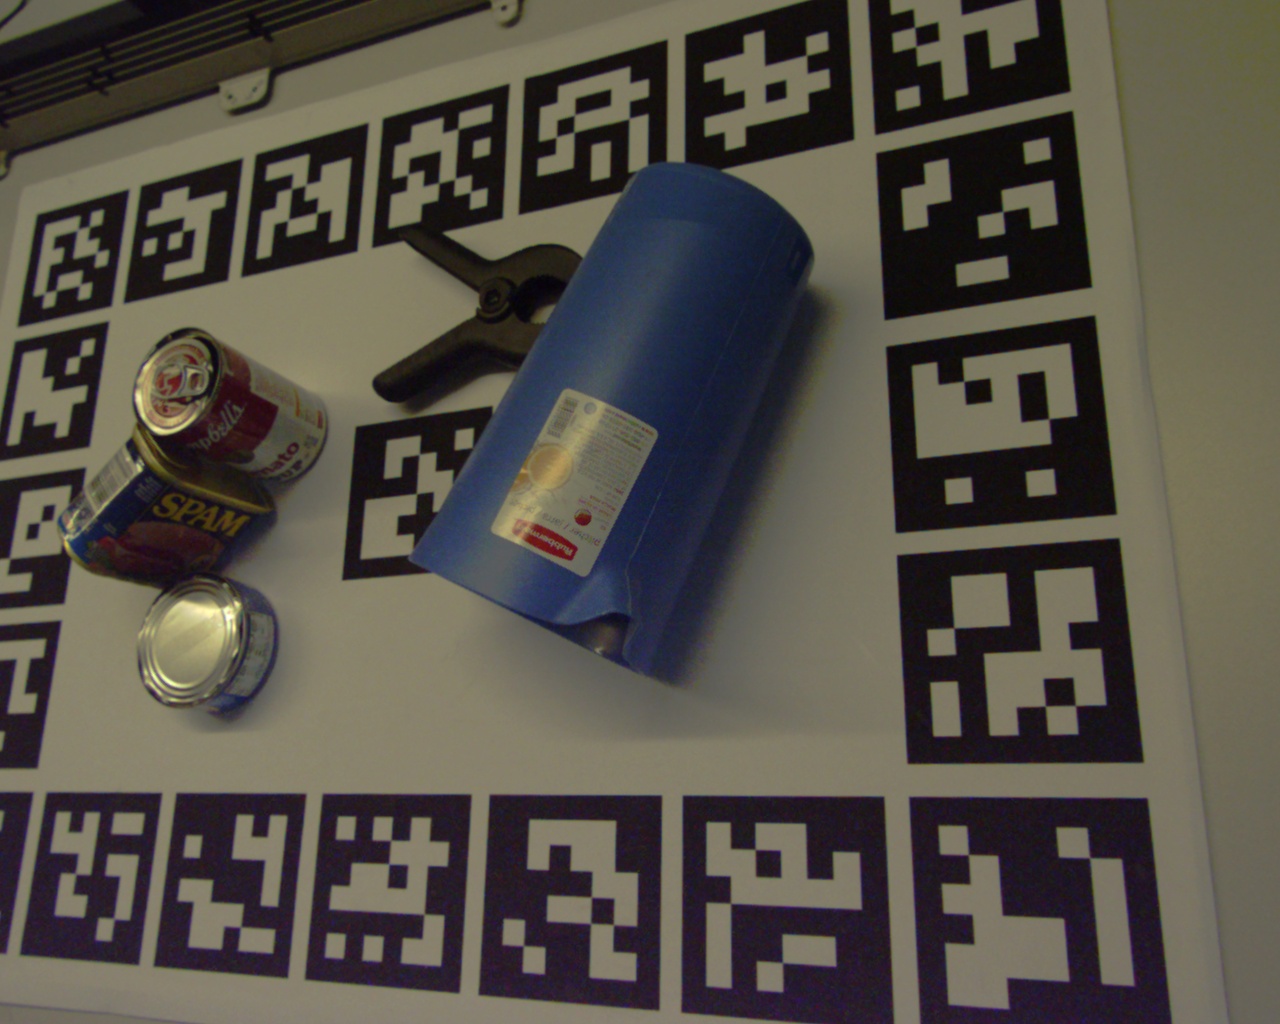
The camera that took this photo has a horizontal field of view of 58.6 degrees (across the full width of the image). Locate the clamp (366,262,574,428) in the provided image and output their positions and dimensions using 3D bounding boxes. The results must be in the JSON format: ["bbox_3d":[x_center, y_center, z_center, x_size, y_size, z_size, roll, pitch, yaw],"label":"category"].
[{"bbox_3d":[-0.100,-0.118,0.750,0.167,0.036,0.122,-3,70,20],"label":"clamp"}]

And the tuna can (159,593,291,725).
[{"bbox_3d":[-0.276,0.099,0.760,0.086,0.033,0.086,-6,75,23],"label":"tuna can"}]

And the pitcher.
[{"bbox_3d":[-0.021,-0.036,0.622,0.191,0.131,0.242,13,73,49],"label":"pitcher"}]

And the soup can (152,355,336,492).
[{"bbox_3d":[-0.261,-0.056,0.761,0.068,0.101,0.068,-7,75,25],"label":"soup can"}]

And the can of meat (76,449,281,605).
[{"bbox_3d":[-0.307,0.013,0.757,0.084,0.100,0.058,-42,64,12],"label":"can of meat"}]
